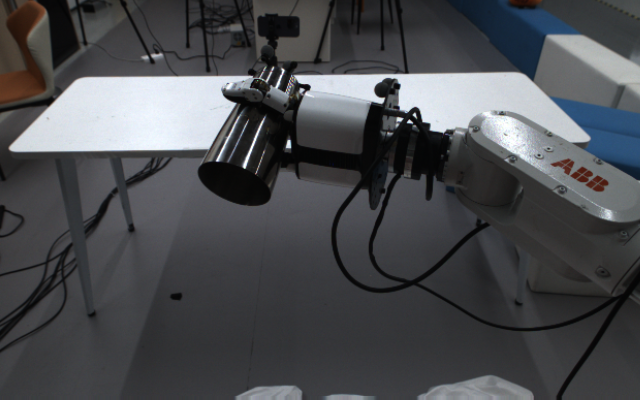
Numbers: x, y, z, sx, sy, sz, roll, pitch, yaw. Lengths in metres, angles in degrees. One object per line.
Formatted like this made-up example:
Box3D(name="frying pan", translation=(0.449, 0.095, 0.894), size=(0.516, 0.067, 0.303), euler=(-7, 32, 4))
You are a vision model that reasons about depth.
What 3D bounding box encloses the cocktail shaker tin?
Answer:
Box3D(name="cocktail shaker tin", translation=(-0.079, -0.087, 0.614), size=(0.093, 0.093, 0.170), euler=(10, 60, 12))
